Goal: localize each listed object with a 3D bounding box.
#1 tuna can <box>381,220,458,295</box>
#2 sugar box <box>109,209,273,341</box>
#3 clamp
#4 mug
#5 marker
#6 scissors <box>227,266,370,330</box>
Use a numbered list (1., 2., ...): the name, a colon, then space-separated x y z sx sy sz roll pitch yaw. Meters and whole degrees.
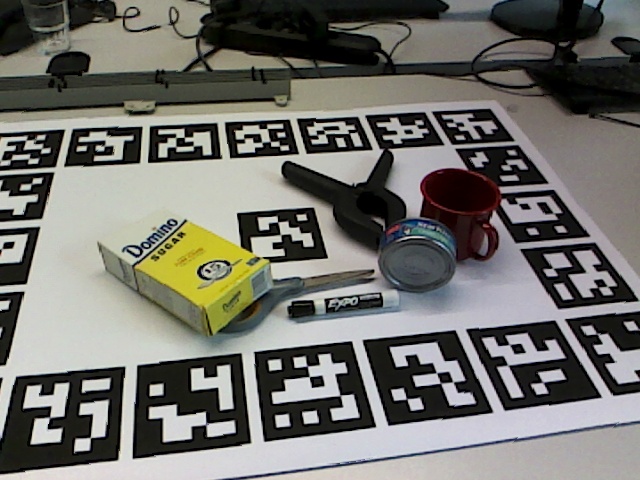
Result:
1. tuna can: 0.111 0.021 0.694 0.086 0.085 0.034 7 41 3
2. sugar box: -0.145 0.032 0.683 0.177 0.045 0.092 29 46 33
3. clamp: 0.052 -0.046 0.818 0.165 0.036 0.204 -12 45 -18
4. mug: 0.160 -0.015 0.746 0.093 0.081 0.118 -25 46 -29
5. marker: 0.016 0.076 0.674 0.121 0.019 0.020 -7 44 -12
6. scissors: -0.037 0.051 0.695 0.202 0.016 0.088 -11 40 -19
